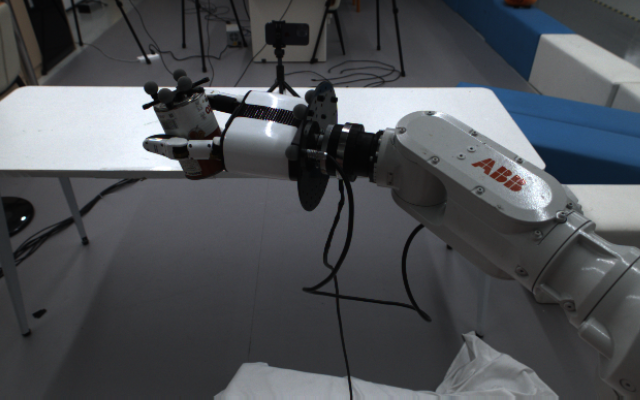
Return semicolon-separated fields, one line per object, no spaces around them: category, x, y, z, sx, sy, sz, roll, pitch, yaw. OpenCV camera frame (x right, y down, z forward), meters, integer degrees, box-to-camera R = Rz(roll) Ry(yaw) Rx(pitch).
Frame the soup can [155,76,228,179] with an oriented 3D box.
soup can;-0.162;-0.085;0.626;0.067;0.101;0.067;-13;31;8
